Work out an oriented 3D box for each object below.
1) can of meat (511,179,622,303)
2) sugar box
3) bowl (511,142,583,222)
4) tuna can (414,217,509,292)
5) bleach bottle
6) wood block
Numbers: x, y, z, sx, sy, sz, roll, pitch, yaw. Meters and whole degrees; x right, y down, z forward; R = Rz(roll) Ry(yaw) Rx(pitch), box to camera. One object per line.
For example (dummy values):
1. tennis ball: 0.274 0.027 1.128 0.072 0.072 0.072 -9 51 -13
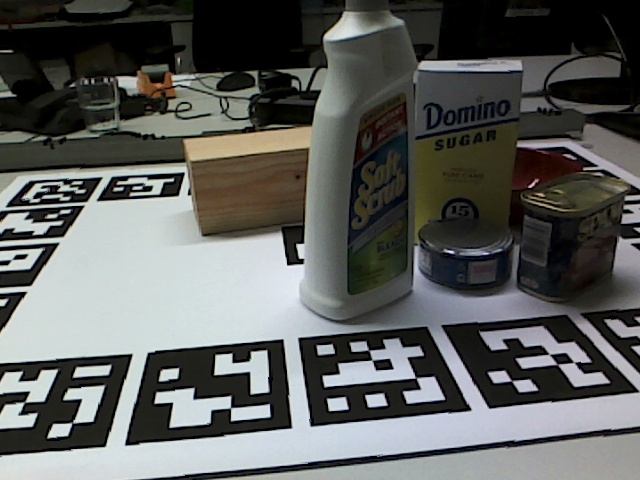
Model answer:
1. can of meat: 0.215 -0.001 0.548 0.101 0.083 0.058 -18 26 -33
2. sugar box: 0.140 -0.079 0.599 0.093 0.176 0.045 1 27 16
3. bowl: 0.211 -0.064 0.707 0.162 0.055 0.162 -6 25 2
4. tuna can: 0.128 0.012 0.571 0.086 0.033 0.086 -2 28 1
5. bleach bottle: 0.028 -0.064 0.497 0.102 0.250 0.068 -17 28 -28
6. wood block: -0.051 -0.074 0.720 0.205 0.089 0.091 -8 30 -14
